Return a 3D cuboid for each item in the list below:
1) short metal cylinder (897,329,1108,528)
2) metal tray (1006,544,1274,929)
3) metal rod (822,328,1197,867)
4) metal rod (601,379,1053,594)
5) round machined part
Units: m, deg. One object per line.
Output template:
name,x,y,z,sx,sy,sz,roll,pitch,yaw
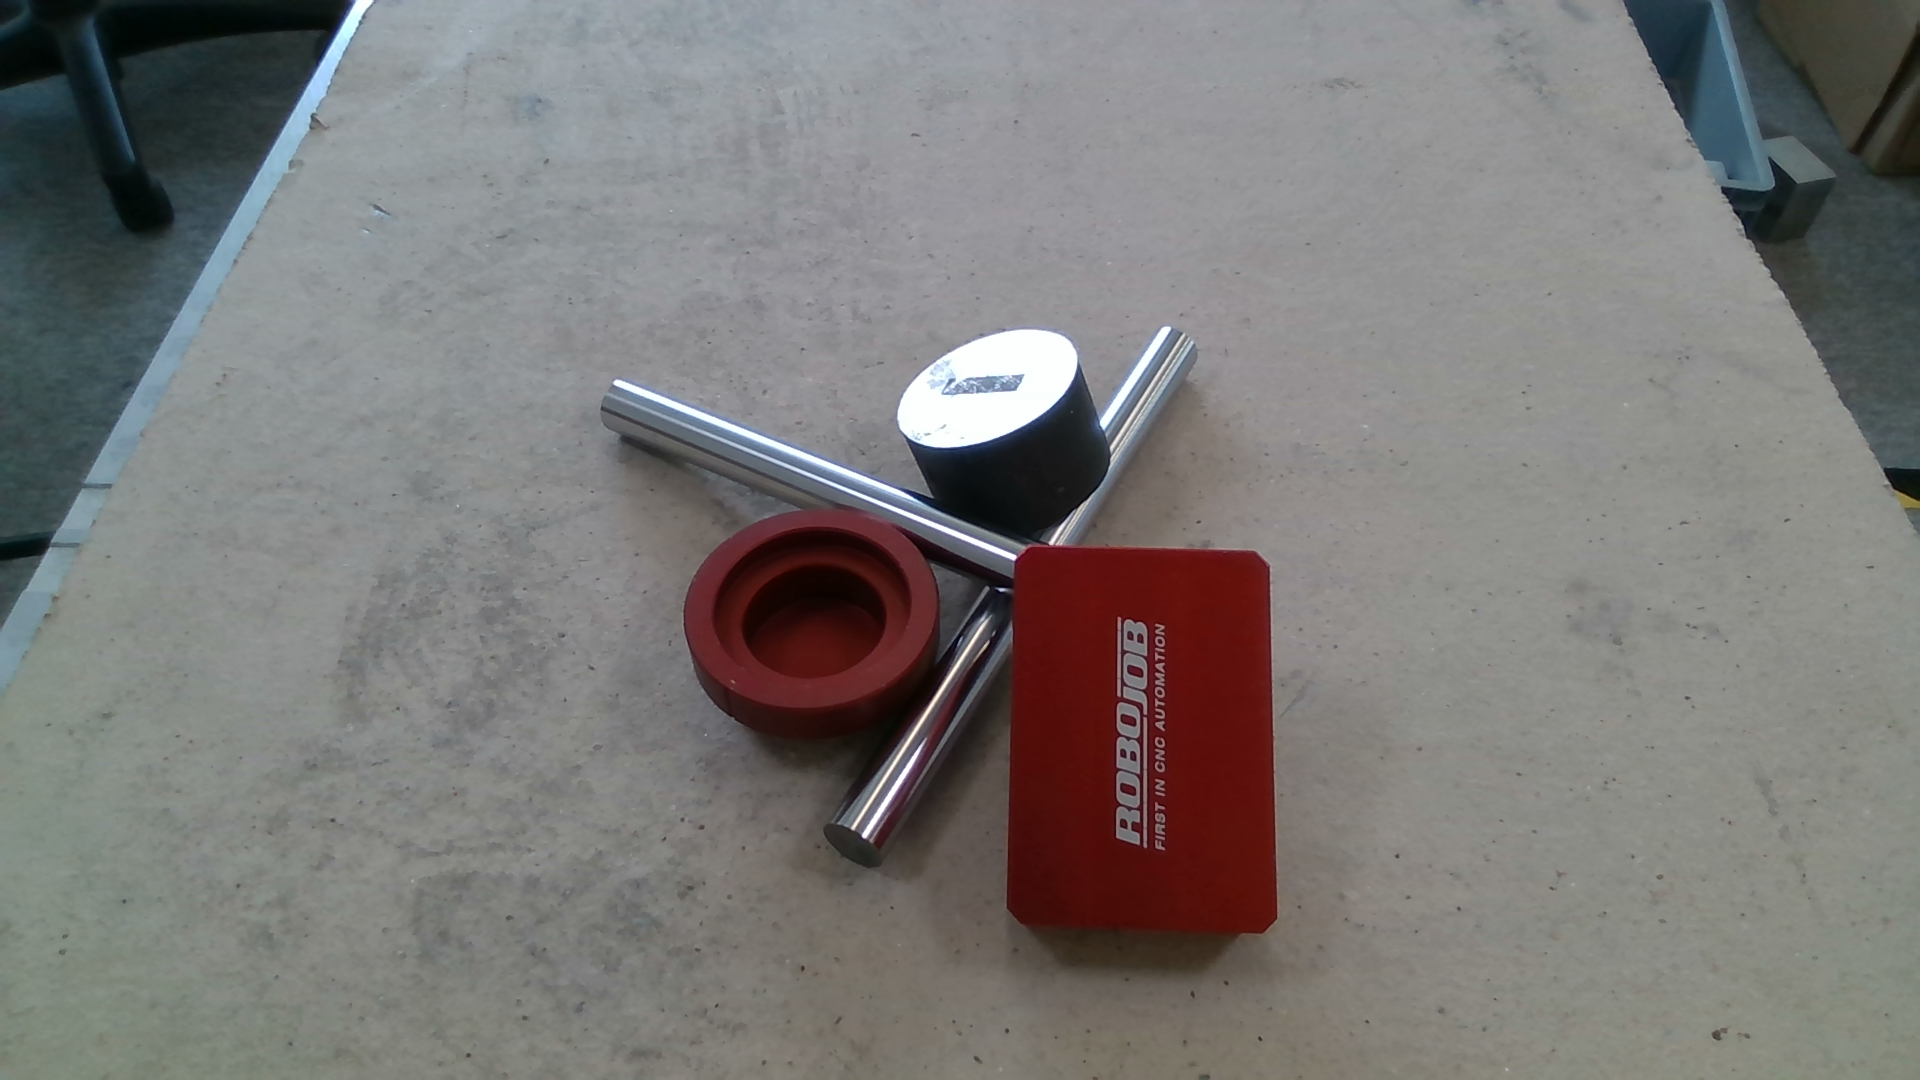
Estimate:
short metal cylinder,0.019,-0.047,0.594,0.080,0.050,0.080,-16,36,12
metal tray,0.063,0.069,0.490,0.090,0.030,0.130,1,78,1
metal rod,0.032,0.009,0.581,0.025,0.025,0.299,22,54,18
metal rod,-0.033,-0.013,0.576,0.300,0.025,0.025,22,53,26
round machined part,-0.057,0.037,0.546,0.098,0.042,0.098,0,50,0
